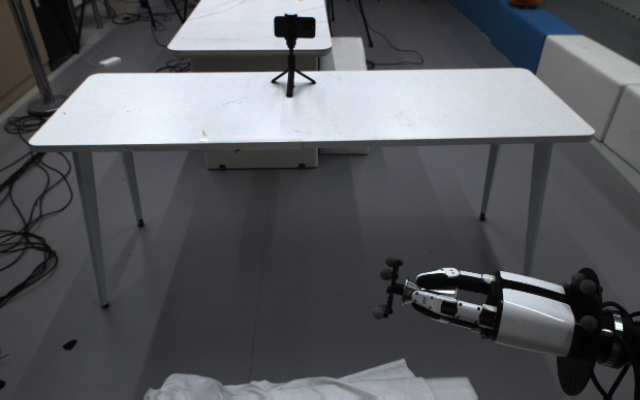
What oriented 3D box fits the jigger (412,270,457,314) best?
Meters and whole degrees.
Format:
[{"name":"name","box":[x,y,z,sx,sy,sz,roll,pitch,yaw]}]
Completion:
[{"name":"jigger","box":[0.155,0.127,0.656,0.071,0.043,0.043,10,35,16]}]
